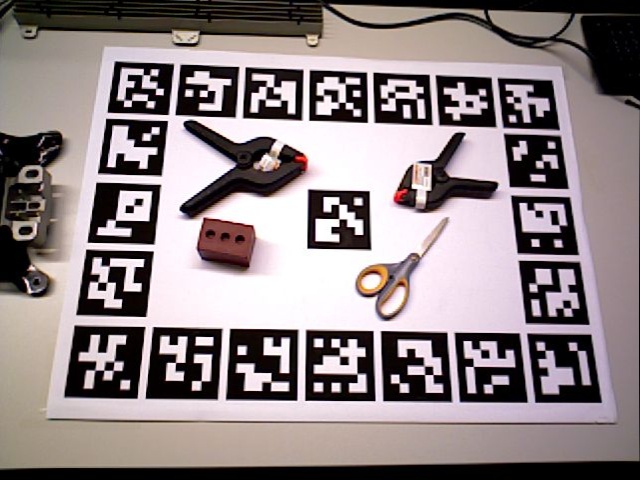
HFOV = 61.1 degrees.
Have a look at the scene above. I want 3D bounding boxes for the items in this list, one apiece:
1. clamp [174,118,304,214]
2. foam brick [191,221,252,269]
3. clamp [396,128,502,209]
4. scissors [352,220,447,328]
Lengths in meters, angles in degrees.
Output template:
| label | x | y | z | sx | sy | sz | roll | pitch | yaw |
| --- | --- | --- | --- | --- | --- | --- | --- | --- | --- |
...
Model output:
| label | x | y | z | sx | sy | sz | roll | pitch | yaw |
| --- | --- | --- | --- | --- | --- | --- | --- | --- | --- |
| clamp | -0.127 | -0.120 | 0.858 | 0.201 | 0.037 | 0.164 | -2 | 70 | -4 |
| foam brick | -0.146 | 0.008 | 0.814 | 0.078 | 0.052 | 0.052 | 8 | 73 | 4 |
| clamp | 0.196 | -0.099 | 0.872 | 0.163 | 0.037 | 0.122 | -25 | 83 | -9 |
| scissors | 0.132 | 0.038 | 0.831 | 0.087 | 0.016 | 0.200 | 42 | 74 | 1 |
